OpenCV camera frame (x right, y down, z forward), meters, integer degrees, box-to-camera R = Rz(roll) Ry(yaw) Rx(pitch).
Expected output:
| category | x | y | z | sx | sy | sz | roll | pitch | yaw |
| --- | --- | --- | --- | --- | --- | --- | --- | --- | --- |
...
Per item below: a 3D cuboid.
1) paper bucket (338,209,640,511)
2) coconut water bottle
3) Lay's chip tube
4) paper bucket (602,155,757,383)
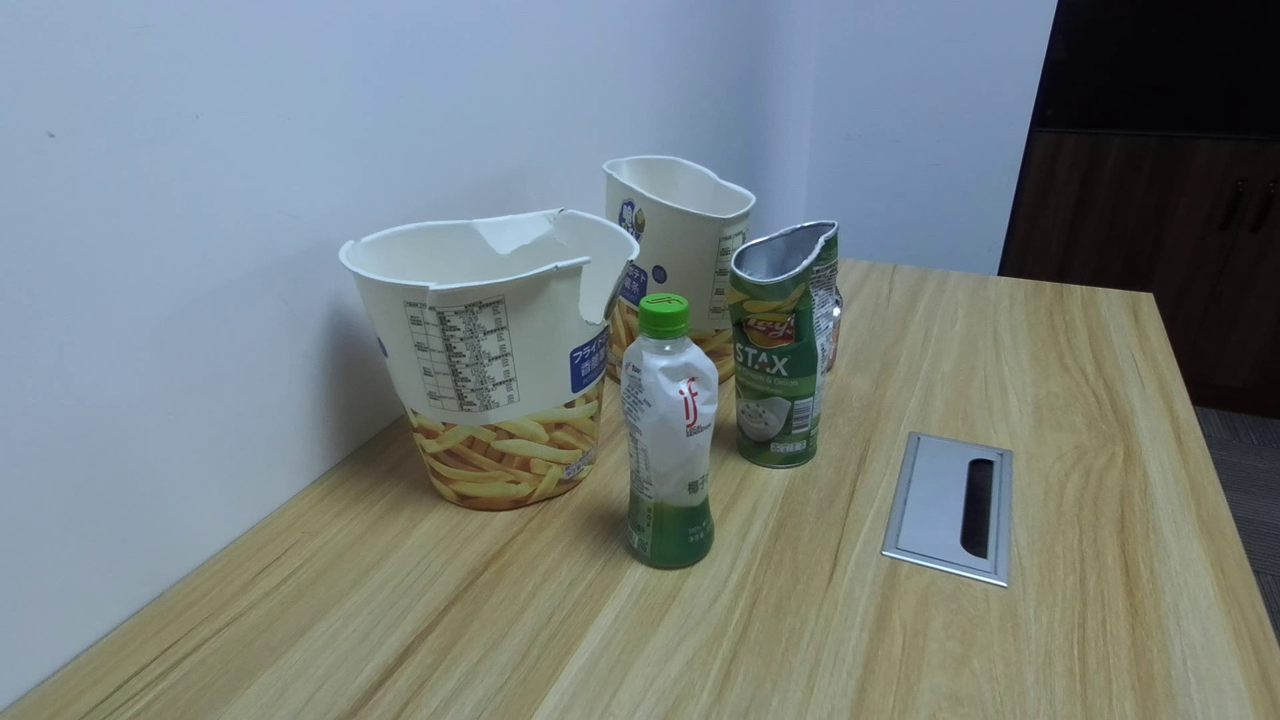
| category | x | y | z | sx | sy | sz | roll | pitch | yaw |
| --- | --- | --- | --- | --- | --- | --- | --- | --- | --- |
| paper bucket | -0.108 | -0.003 | 0.565 | 0.203 | 0.197 | 0.145 | -12 | 31 | -15 |
| coconut water bottle | 0.019 | 0.048 | 0.470 | 0.067 | 0.187 | 0.067 | -2 | 27 | 1 |
| Lay's chip tube | 0.110 | -0.005 | 0.553 | 0.079 | 0.200 | 0.071 | 3 | 37 | 14 |
| paper bucket | 0.033 | -0.087 | 0.698 | 0.217 | 0.199 | 0.148 | 21 | 36 | 36 |
